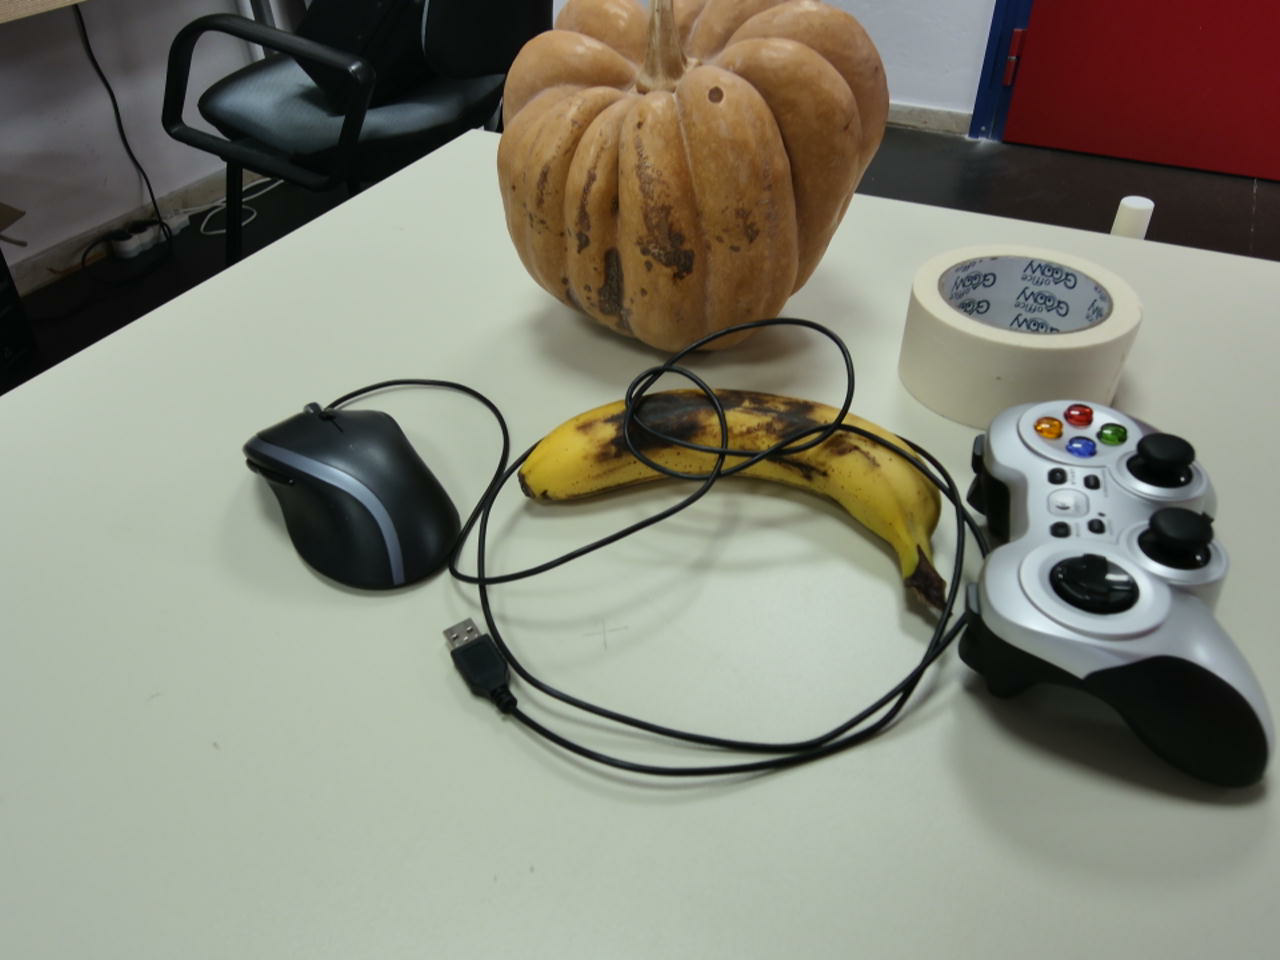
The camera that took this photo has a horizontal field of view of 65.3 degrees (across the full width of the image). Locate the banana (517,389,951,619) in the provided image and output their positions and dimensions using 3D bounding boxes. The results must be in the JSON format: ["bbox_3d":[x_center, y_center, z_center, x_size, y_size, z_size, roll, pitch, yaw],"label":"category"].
[{"bbox_3d":[0.048,-0.004,0.431,0.187,0.039,0.094,16,40,20],"label":"banana"}]
